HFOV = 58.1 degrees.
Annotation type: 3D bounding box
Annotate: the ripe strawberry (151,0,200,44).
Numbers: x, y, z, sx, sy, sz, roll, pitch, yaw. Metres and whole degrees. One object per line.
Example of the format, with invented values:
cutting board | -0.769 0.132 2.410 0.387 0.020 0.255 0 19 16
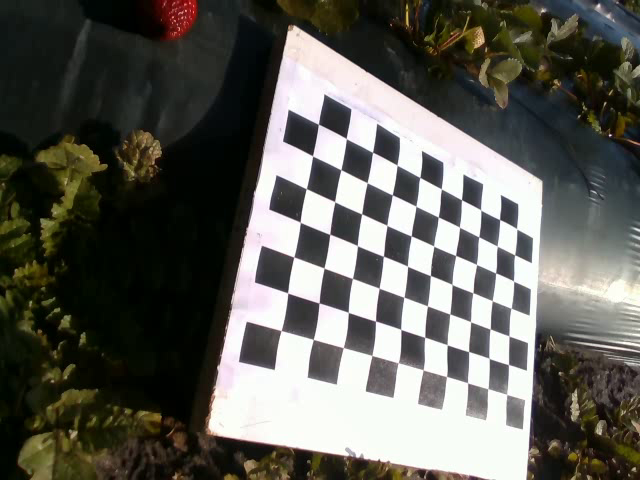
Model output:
ripe strawberry | -0.086 -0.128 0.330 0.040 0.044 0.036 -1 -23 -35
